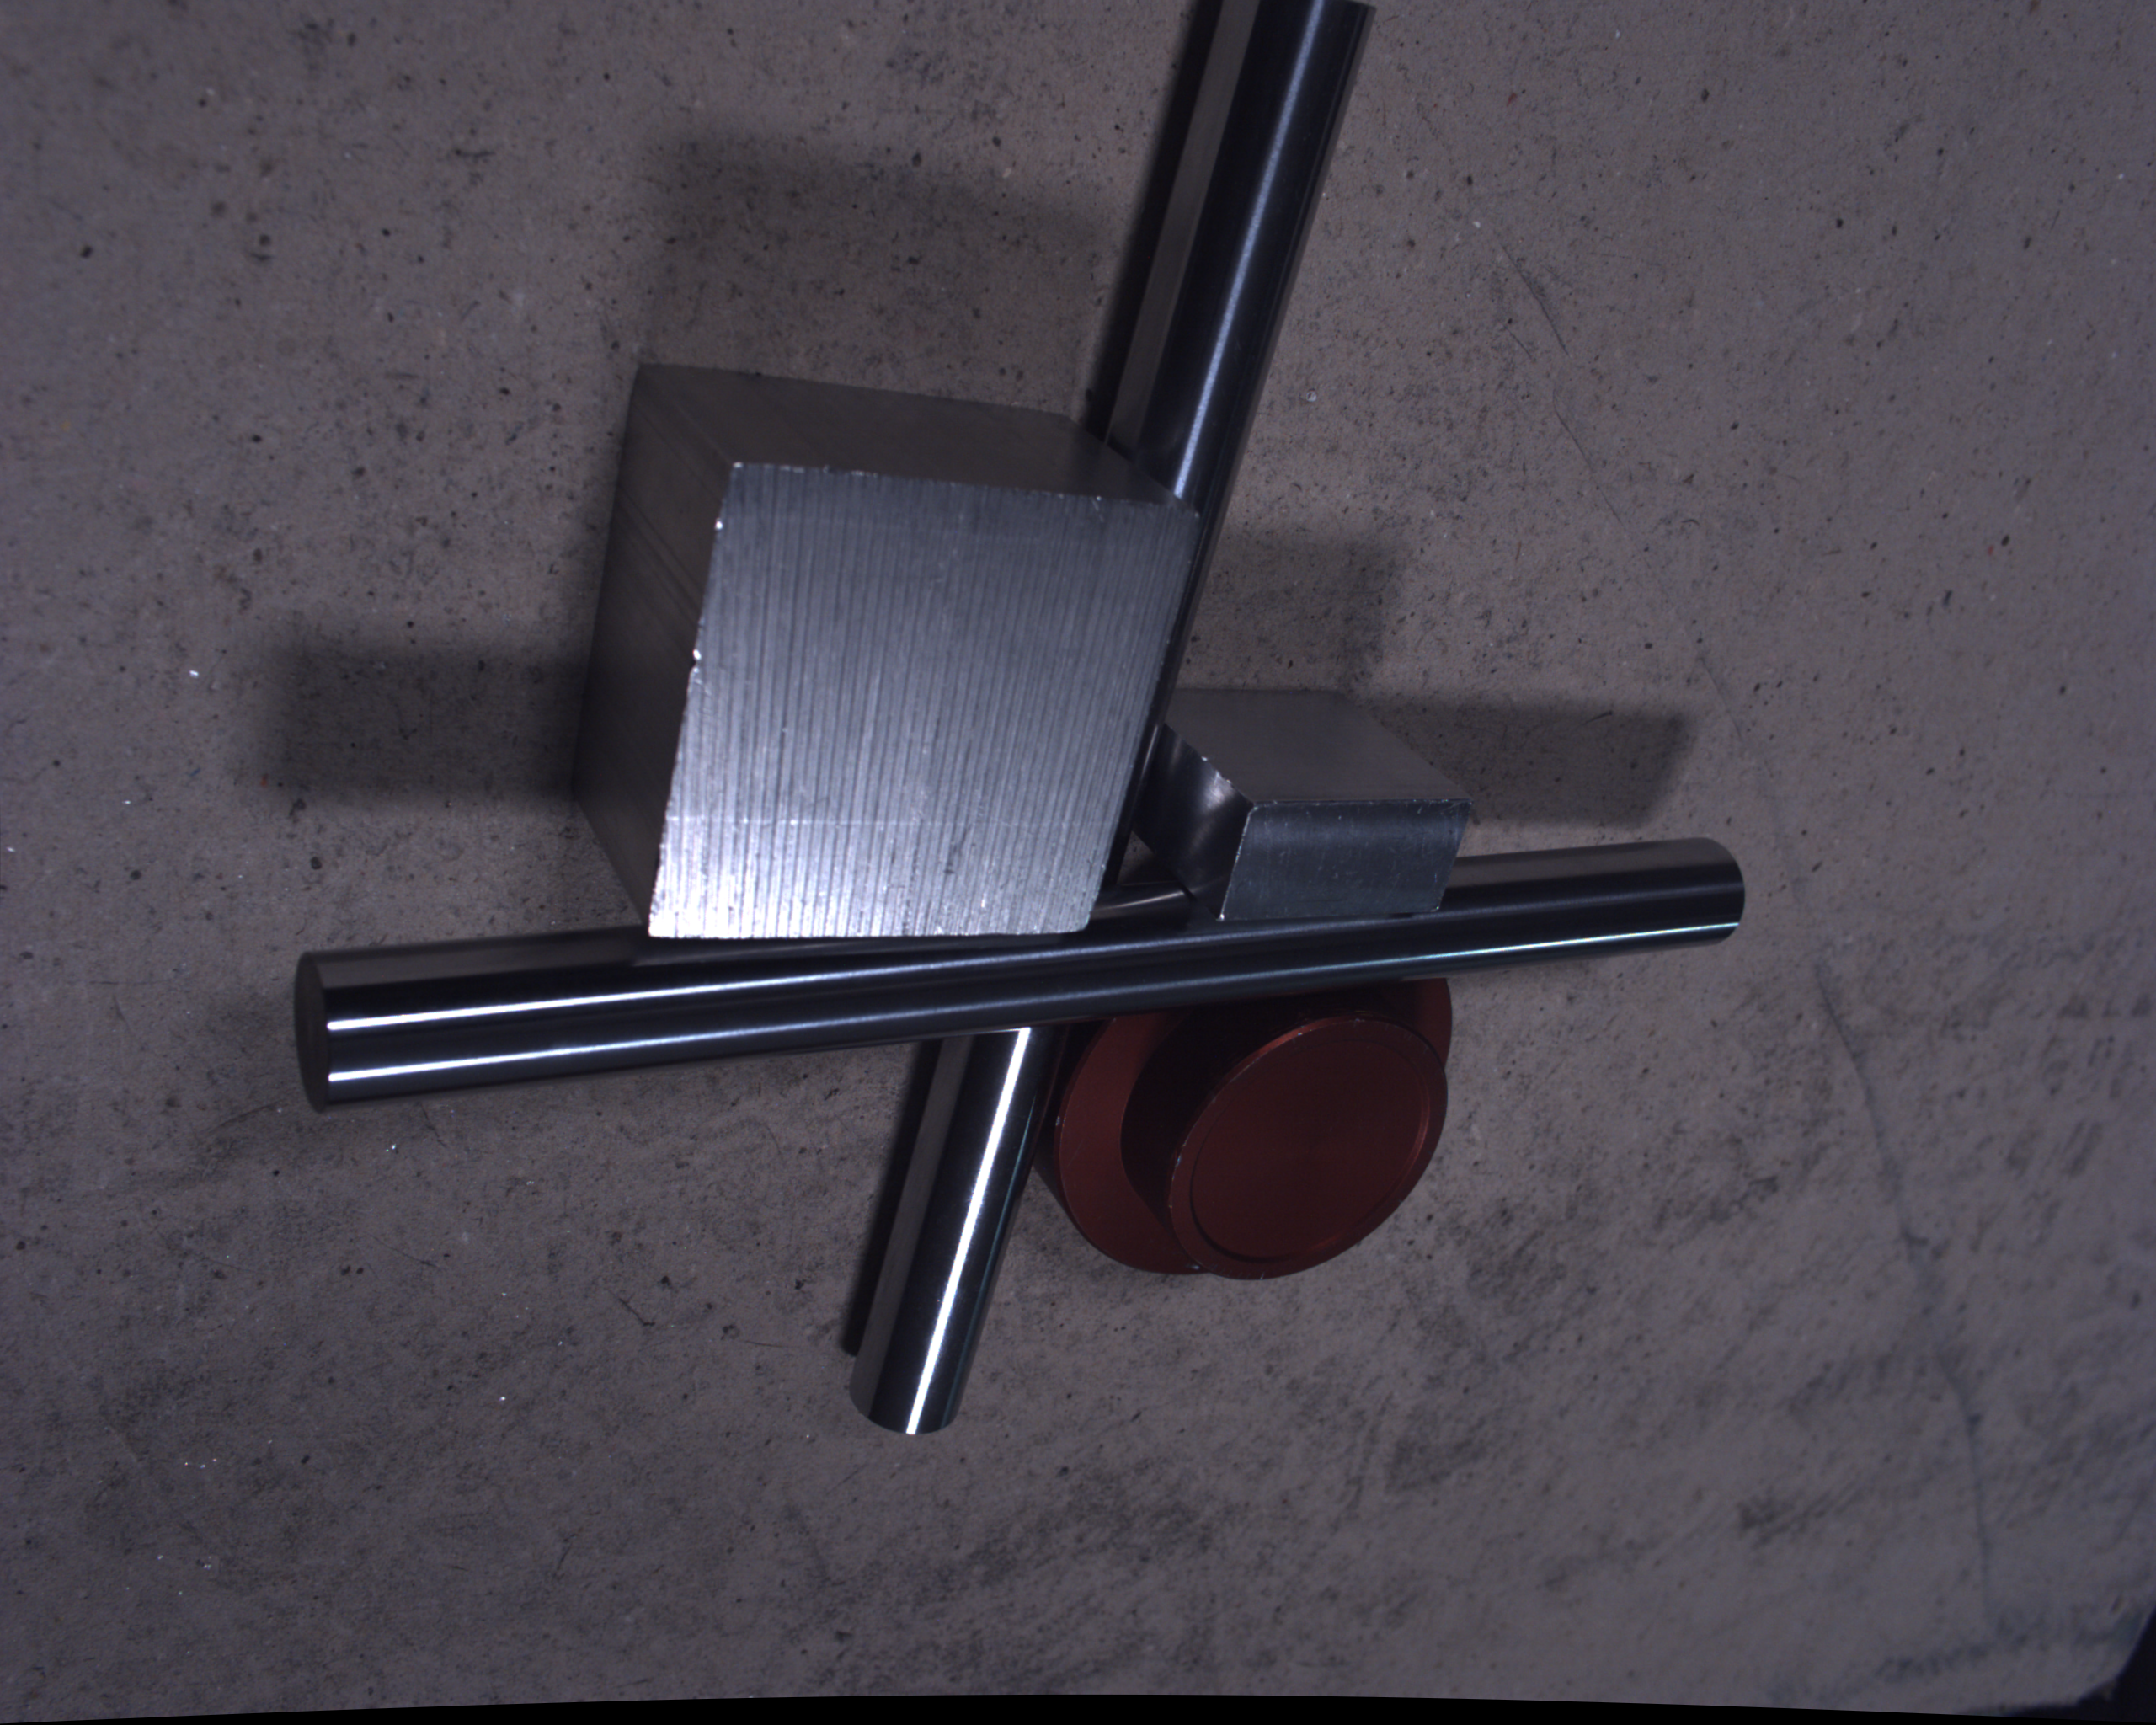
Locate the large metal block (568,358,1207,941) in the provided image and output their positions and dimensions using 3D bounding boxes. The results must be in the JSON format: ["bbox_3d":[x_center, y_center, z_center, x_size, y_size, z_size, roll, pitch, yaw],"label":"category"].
[{"bbox_3d":[-0.035,-0.034,0.352,0.081,0.050,0.079,1,118,-29],"label":"large metal block"}]

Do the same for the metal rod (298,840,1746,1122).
[{"bbox_3d":[0.013,0.017,0.395,0.303,0.025,0.025,-4,121,-31],"label":"metal rod"}]

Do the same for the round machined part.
[{"bbox_3d":[0.040,0.052,0.452,0.099,0.042,0.097,-14,125,-21],"label":"round machined part"}]

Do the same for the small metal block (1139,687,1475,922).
[{"bbox_3d":[0.040,-0.013,0.408,0.050,0.050,0.025,-2,119,-28],"label":"small metal block"}]

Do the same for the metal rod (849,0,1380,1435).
[{"bbox_3d":[-0.001,-0.013,0.402,0.025,0.025,0.298,2,118,-30],"label":"metal rod"}]
